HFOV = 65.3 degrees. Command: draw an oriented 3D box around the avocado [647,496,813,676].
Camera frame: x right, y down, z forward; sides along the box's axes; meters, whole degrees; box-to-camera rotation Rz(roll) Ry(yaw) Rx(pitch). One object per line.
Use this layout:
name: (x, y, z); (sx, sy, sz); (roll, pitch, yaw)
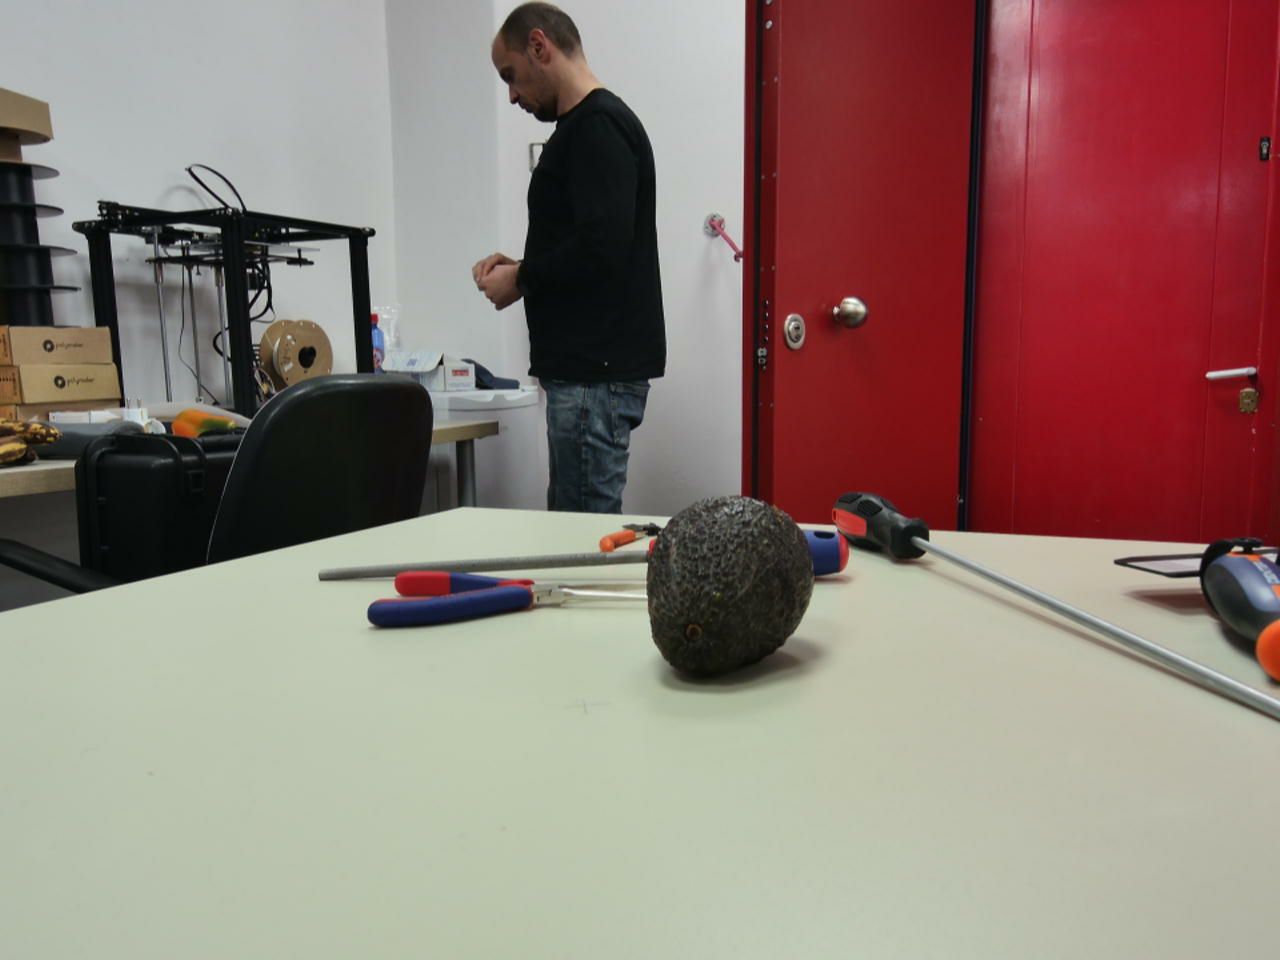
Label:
avocado: (0.034, 0.042, 0.423); (0.090, 0.069, 0.070); (-3, 4, -40)
